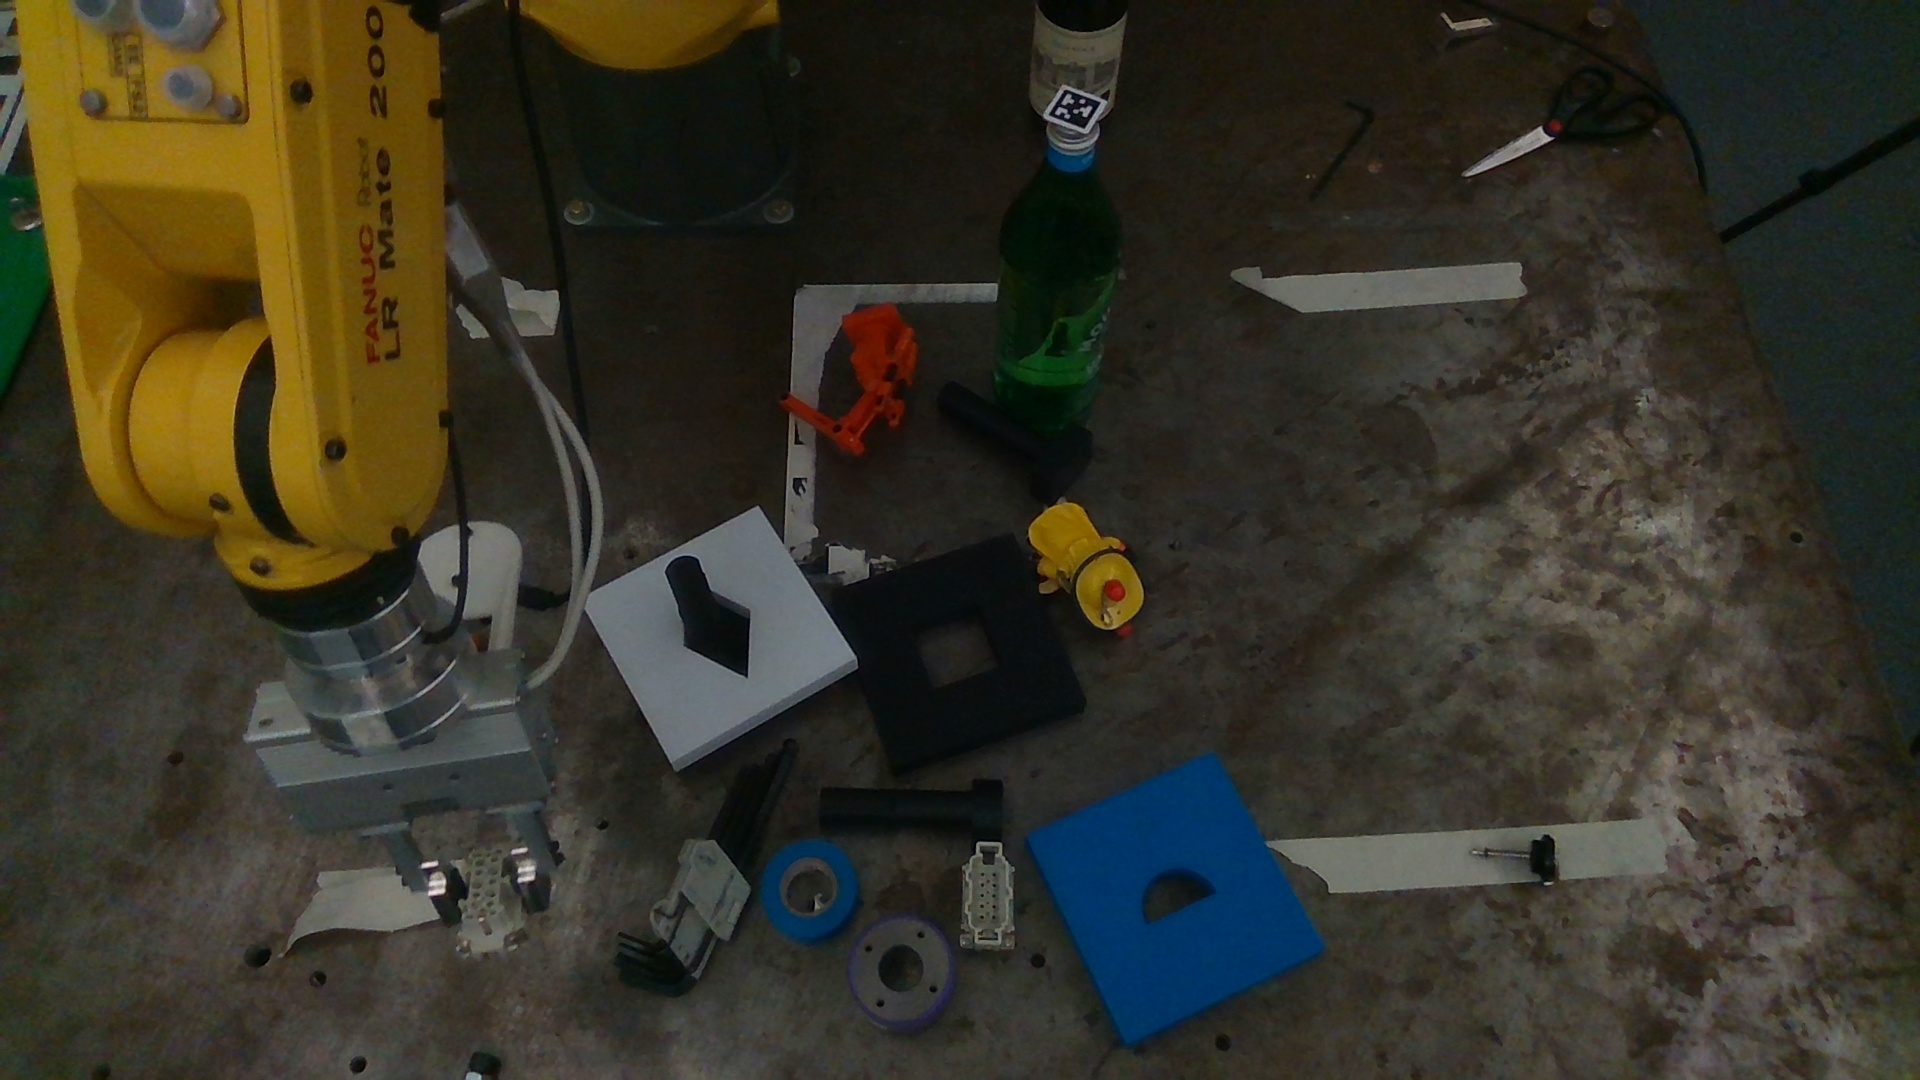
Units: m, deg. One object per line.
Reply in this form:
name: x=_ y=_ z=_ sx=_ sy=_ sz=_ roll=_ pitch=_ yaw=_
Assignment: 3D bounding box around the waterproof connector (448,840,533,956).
waterproof connector: x=-0.266 y=0.201 z=0.783 sx=0.037 sy=0.038 sz=0.069 roll=-13 pitch=41 yaw=0
